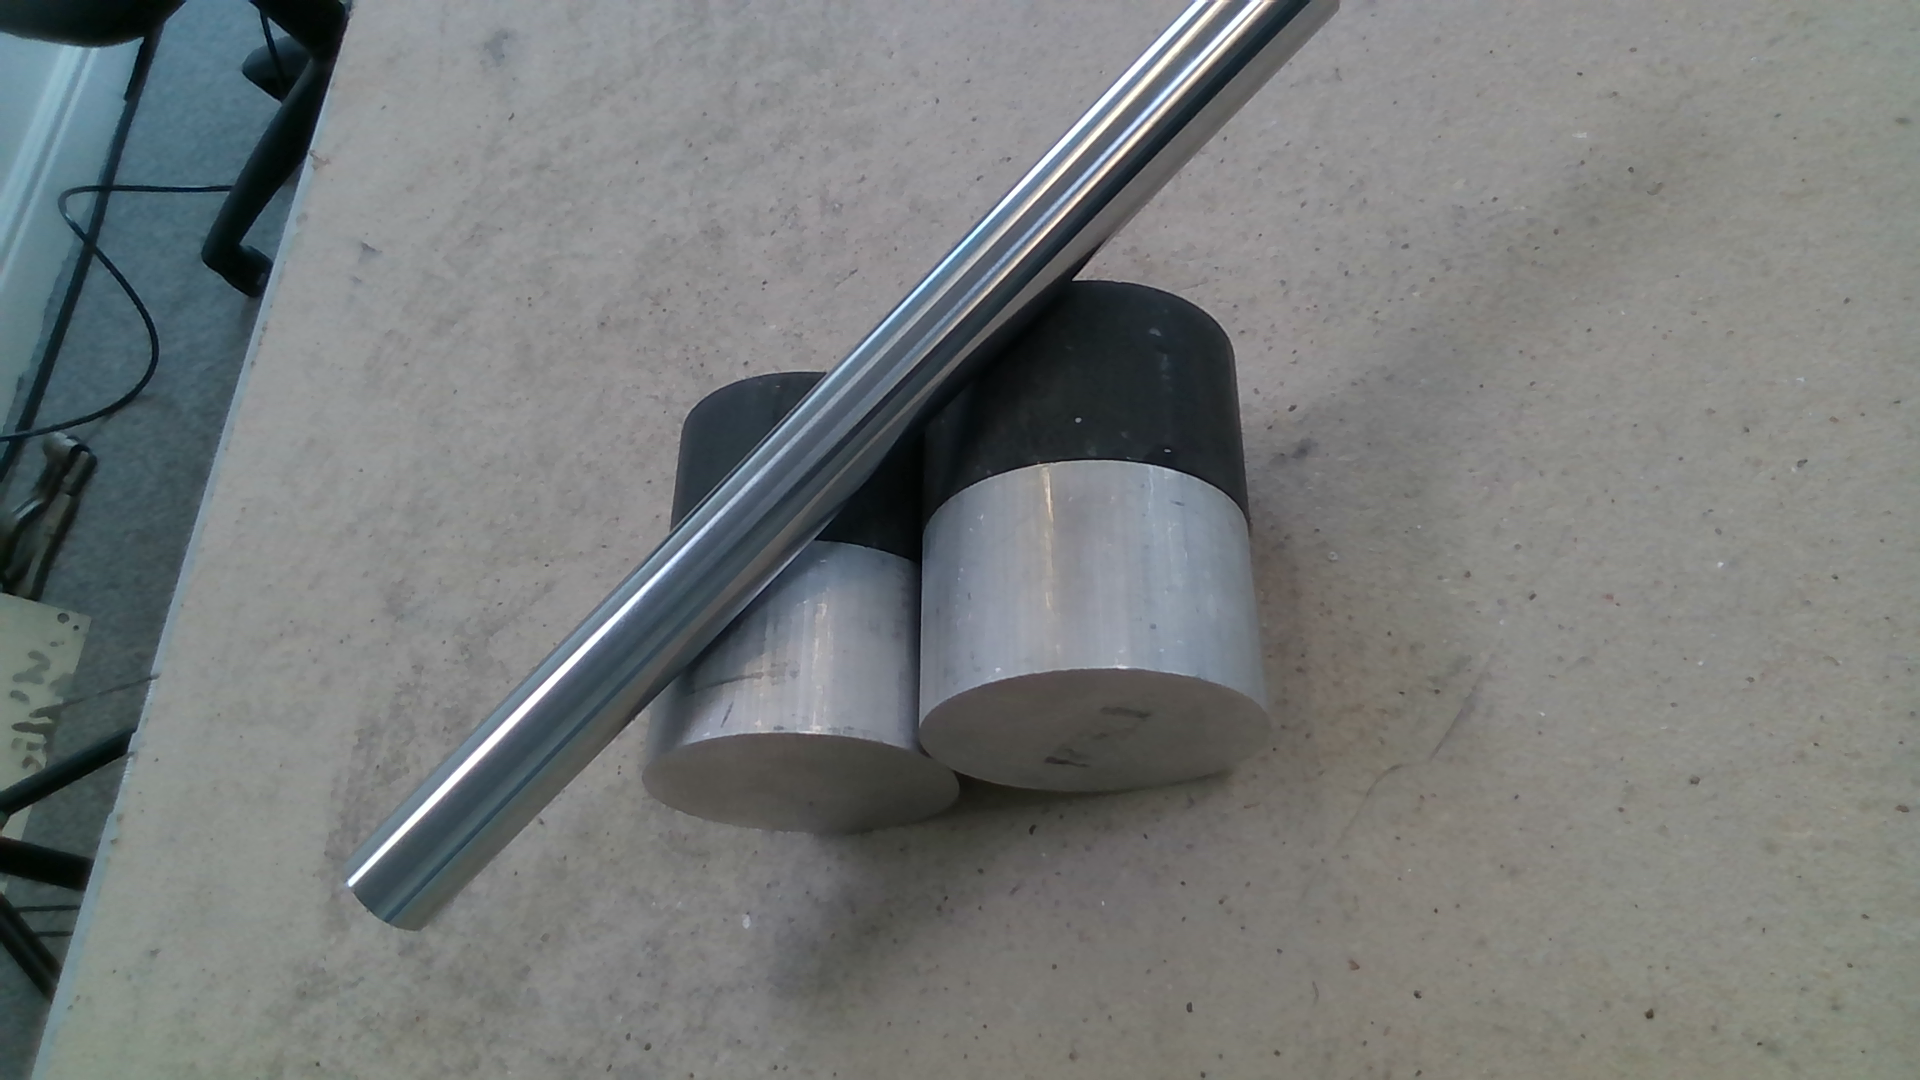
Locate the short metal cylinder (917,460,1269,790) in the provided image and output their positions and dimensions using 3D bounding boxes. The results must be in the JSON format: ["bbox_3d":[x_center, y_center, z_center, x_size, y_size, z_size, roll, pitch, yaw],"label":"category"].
[{"bbox_3d":[0.030,0.023,0.327,0.080,0.080,0.050,-14,59,25],"label":"short metal cylinder"}]

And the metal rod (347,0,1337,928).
[{"bbox_3d":[-0.030,-0.022,0.320,0.300,0.025,0.025,-45,51,4],"label":"metal rod"}]

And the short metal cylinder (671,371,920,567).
[{"bbox_3d":[-0.040,-0.004,0.385,0.080,0.080,0.050,-14,59,25],"label":"short metal cylinder"}]

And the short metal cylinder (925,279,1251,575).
[{"bbox_3d":[0.031,-0.021,0.350,0.080,0.080,0.050,-14,59,25],"label":"short metal cylinder"}]

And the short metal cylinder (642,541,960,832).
[{"bbox_3d":[-0.040,0.041,0.361,0.080,0.080,0.050,-14,59,25],"label":"short metal cylinder"}]
